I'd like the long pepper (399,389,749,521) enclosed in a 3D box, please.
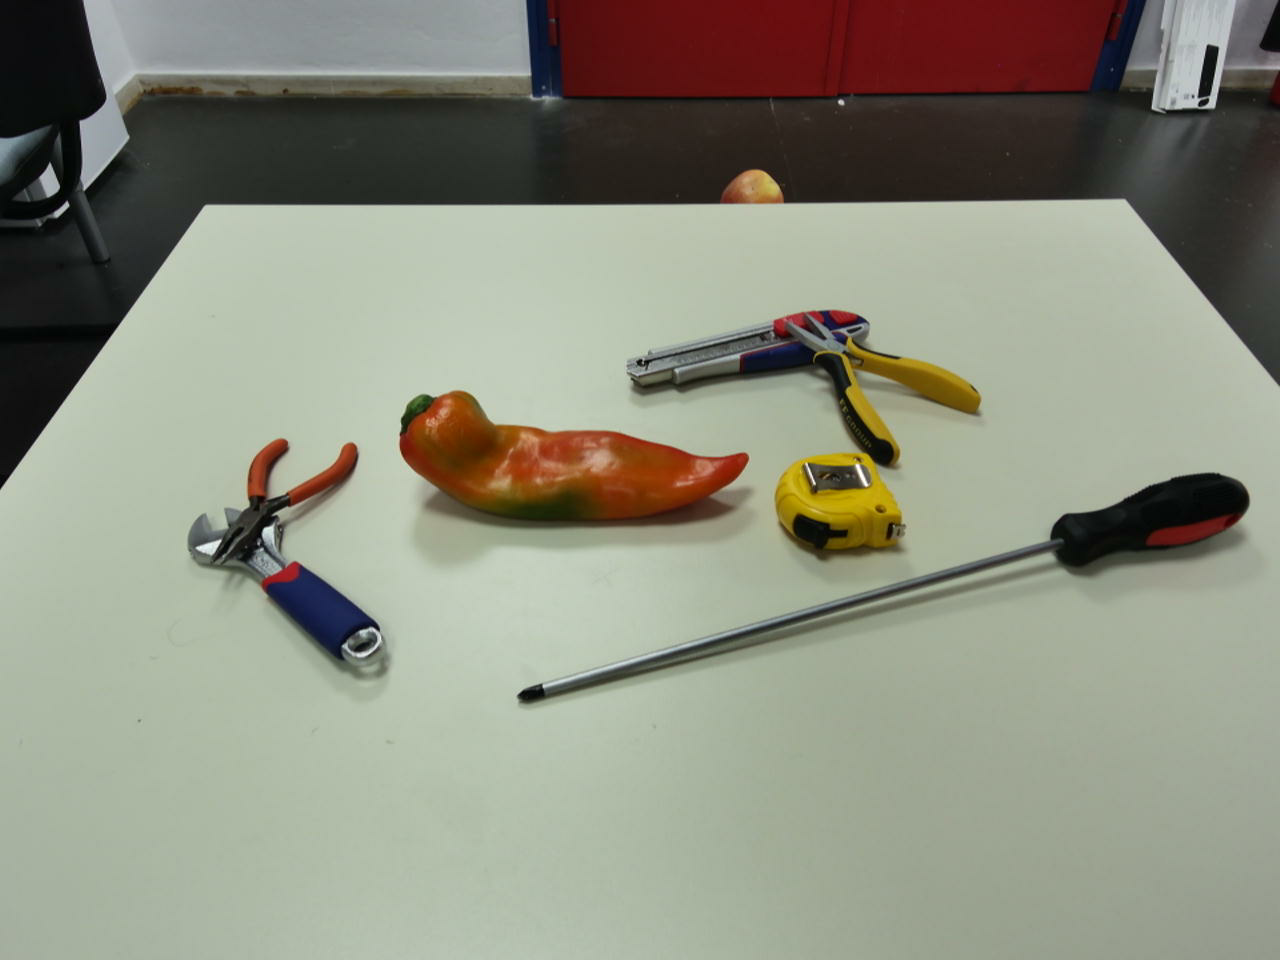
[{"bbox_3d":[-0.038,-0.016,0.571,0.199,0.065,0.066,3,39,4],"label":"long pepper"}]
